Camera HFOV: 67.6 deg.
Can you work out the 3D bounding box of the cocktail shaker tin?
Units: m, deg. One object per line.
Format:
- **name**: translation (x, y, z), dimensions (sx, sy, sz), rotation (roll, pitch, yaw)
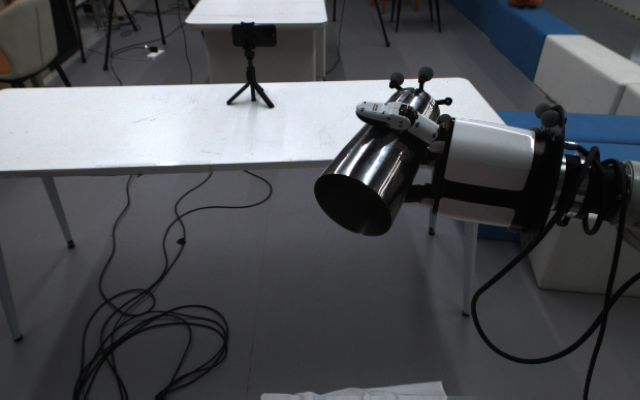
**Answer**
- **cocktail shaker tin**: translation (0.078, -0.056, 0.547), dimensions (0.093, 0.093, 0.170), rotation (19, 55, 22)
